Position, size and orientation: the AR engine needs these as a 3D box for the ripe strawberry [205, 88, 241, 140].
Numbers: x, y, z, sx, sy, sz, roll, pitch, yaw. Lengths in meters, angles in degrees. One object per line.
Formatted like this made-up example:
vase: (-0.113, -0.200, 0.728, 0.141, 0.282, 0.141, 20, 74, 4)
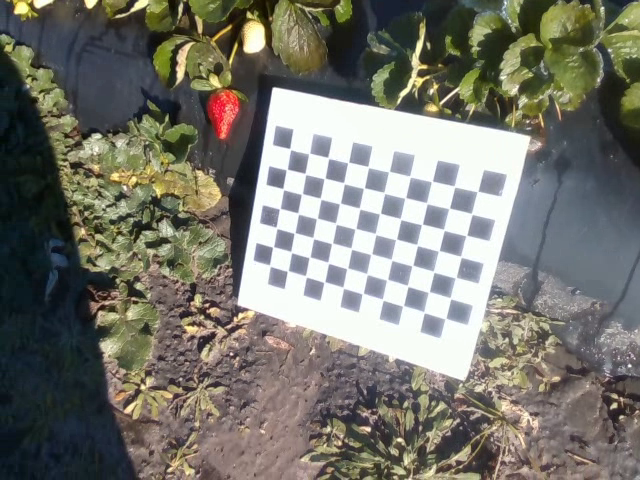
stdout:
ripe strawberry: (-0.114, -0.149, 0.753, 0.048, 0.068, 0.040, -3, 0, 23)
